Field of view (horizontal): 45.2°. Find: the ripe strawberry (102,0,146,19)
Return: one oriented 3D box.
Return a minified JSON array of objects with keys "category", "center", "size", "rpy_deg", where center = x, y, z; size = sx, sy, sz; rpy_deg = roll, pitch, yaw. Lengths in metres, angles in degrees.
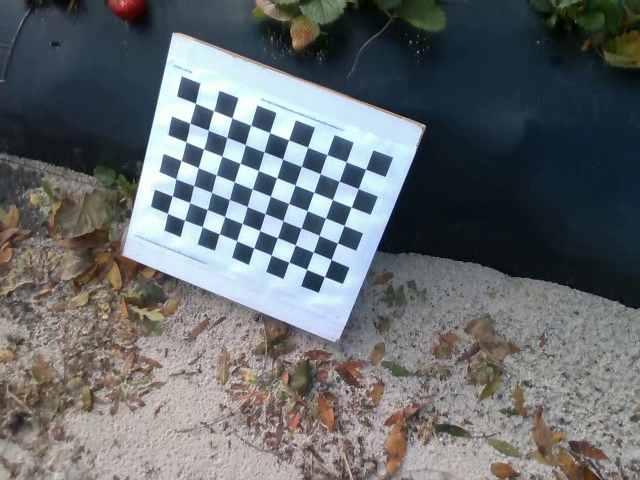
[{"category":"ripe strawberry","center":[-0.155,-0.195,0.634],"size":[0.033,0.038,0.039],"rpy_deg":[24,31,-13]}]
